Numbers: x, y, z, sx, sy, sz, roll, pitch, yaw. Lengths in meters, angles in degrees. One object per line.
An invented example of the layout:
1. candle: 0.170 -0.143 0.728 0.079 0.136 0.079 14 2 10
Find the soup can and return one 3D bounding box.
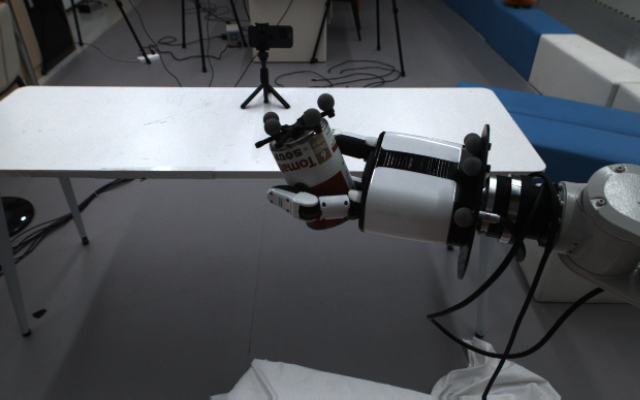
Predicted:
1. soup can: -0.001 -0.029 0.521 0.067 0.101 0.067 -22 24 10
